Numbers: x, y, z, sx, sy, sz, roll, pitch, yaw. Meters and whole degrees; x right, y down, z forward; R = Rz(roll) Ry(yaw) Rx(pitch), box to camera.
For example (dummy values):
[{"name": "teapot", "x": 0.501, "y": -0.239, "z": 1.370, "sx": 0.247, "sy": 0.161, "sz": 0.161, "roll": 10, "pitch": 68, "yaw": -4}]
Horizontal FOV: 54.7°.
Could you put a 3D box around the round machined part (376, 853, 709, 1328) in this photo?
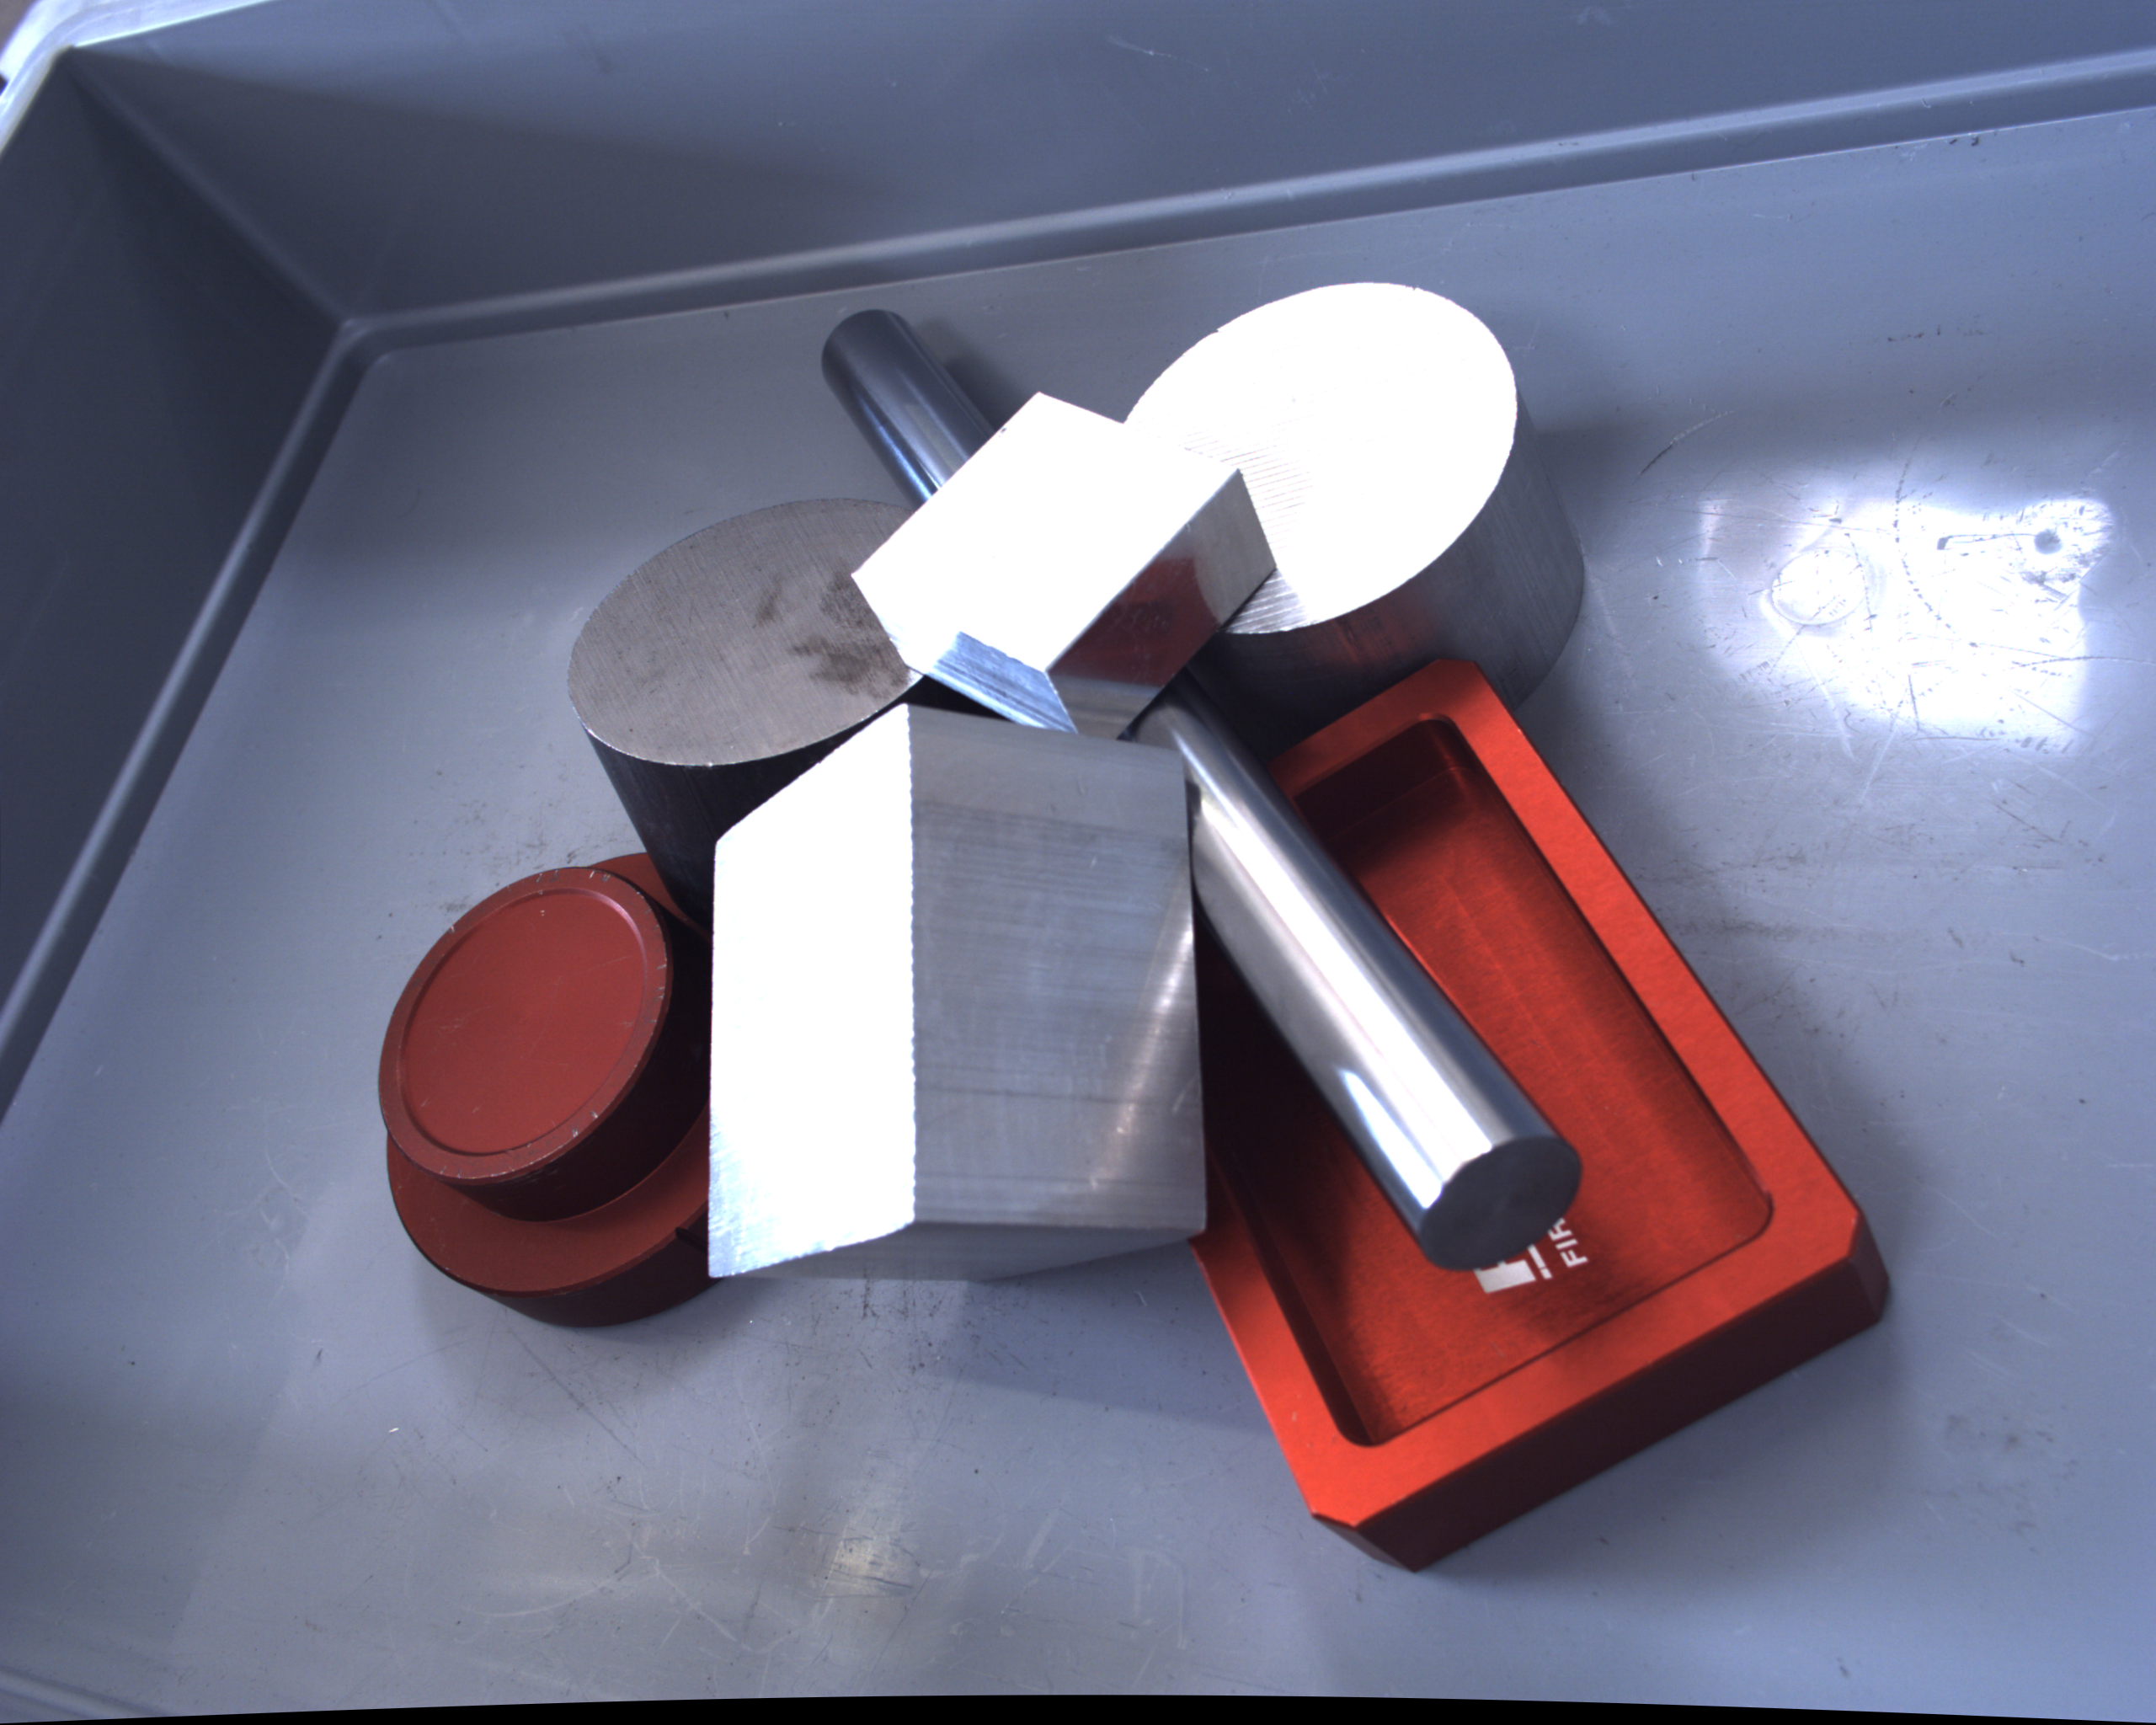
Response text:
[{"name": "round machined part", "x": -0.100, "y": 0.040, "z": 0.420, "sx": 0.098, "sy": 0.042, "sz": 0.098, "roll": -13, "pitch": 56, "yaw": 21}]

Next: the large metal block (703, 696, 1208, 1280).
[{"name": "large metal block", "x": -0.024, "y": 0.026, "z": 0.350, "sx": 0.080, "sy": 0.050, "sz": 0.080, "roll": -27, "pitch": 60, "yaw": 55}]

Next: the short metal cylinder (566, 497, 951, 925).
[{"name": "short metal cylinder", "x": -0.055, "y": -0.029, "z": 0.420, "sx": 0.080, "sy": 0.050, "sz": 0.080, "roll": -8, "pitch": 44, "yaw": 9}]

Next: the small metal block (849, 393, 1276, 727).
[{"name": "small metal block", "x": -0.003, "y": -0.051, "z": 0.368, "sx": 0.050, "sy": 0.025, "sz": 0.050, "roll": 30, "pitch": 70, "yaw": 38}]

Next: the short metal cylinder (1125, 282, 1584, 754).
[{"name": "short metal cylinder", "x": 0.051, "y": -0.063, "z": 0.400, "sx": 0.080, "sy": 0.050, "sz": 0.080, "roll": -13, "pitch": 56, "yaw": 21}]

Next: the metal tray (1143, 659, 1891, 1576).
[{"name": "metal tray", "x": 0.058, "y": 0.037, "z": 0.347, "sx": 0.090, "sy": 0.030, "sz": 0.130, "roll": -31, "pitch": 52, "yaw": 7}]

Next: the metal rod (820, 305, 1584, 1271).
[{"name": "metal rod", "x": 0.004, "y": -0.038, "z": 0.393, "sx": 0.025, "sy": 0.025, "sz": 0.300, "roll": -37, "pitch": 42, "yaw": 4}]
